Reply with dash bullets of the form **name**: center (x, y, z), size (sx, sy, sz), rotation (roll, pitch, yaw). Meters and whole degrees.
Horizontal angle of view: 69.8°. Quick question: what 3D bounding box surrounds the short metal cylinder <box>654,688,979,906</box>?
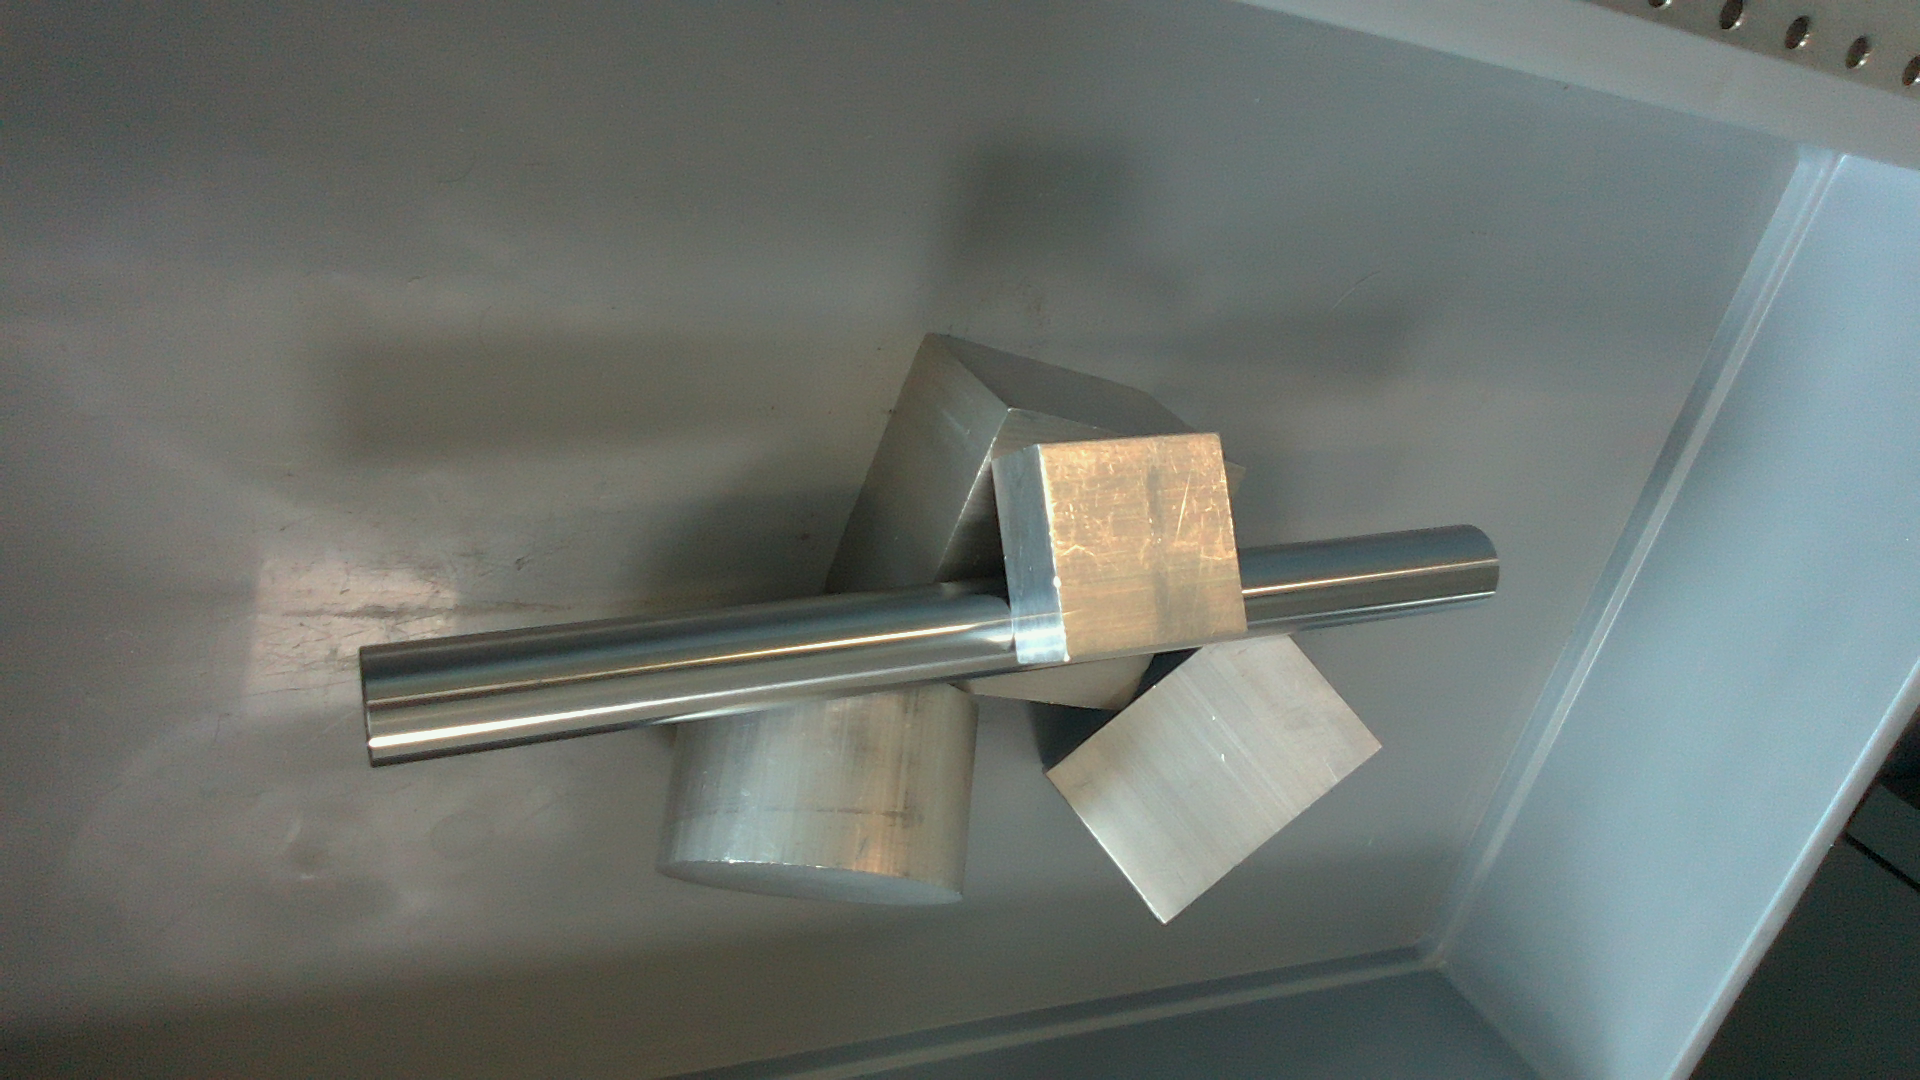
- **short metal cylinder**: center (-0.037, 0.067, 0.365), size (0.080, 0.080, 0.050), rotation (21, 64, -36)

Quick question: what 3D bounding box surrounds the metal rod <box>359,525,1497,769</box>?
- **metal rod**: center (0.014, 0.021, 0.344), size (0.301, 0.025, 0.025), rotation (-6, 121, -25)

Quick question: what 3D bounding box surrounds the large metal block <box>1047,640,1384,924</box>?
- **large metal block**: center (0.074, 0.067, 0.425), size (0.080, 0.050, 0.080), rotation (-39, 173, -2)

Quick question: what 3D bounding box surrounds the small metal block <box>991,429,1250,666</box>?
- **small metal block**: center (0.038, 0.002, 0.330), size (0.050, 0.025, 0.050), rotation (-6, 86, -25)

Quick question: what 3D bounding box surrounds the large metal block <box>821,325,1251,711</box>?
- **large metal block**: center (0.019, -0.004, 0.379), size (0.080, 0.050, 0.080), rotation (11, 113, -33)
